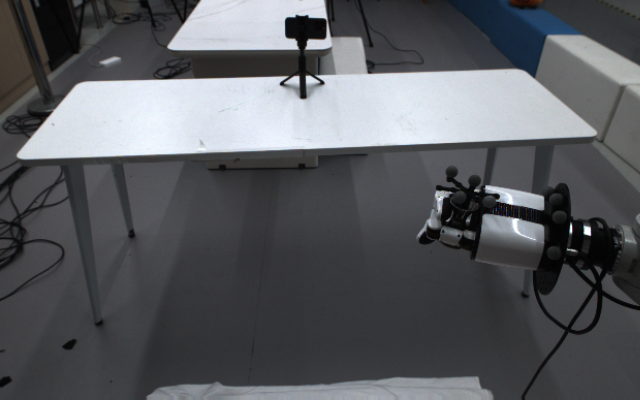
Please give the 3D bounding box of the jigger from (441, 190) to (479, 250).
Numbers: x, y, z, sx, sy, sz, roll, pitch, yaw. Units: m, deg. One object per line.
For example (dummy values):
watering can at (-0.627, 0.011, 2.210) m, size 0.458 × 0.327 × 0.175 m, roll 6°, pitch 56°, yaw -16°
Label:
jigger at (0.201, 0.031, 0.706) m, size 0.043 × 0.071 × 0.043 m, roll 7°, pitch 32°, yaw -4°
